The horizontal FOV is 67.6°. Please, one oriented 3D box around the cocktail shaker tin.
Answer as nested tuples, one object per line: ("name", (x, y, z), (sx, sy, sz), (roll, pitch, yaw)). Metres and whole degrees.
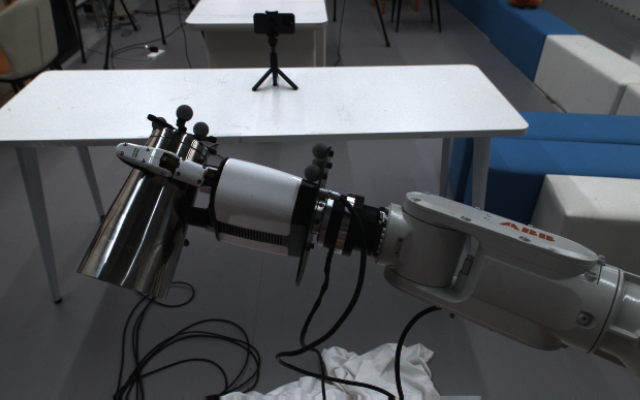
("cocktail shaker tin", (-0.180, 0.011, 0.525), (0.093, 0.093, 0.170), (12, 72, 14))
